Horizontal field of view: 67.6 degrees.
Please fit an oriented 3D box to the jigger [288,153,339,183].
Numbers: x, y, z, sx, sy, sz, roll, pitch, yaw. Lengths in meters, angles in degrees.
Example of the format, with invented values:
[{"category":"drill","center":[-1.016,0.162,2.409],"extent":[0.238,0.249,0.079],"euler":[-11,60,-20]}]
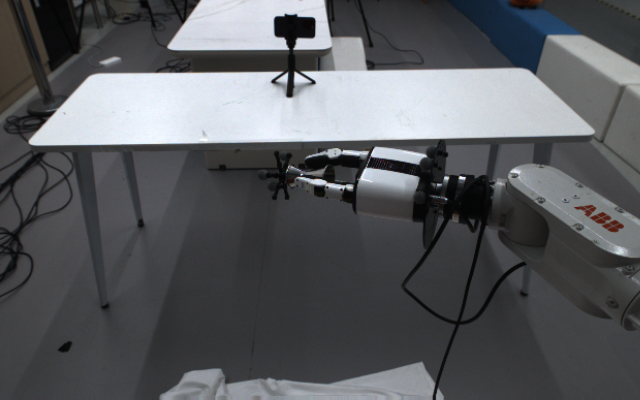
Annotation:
[{"category":"jigger","center":[-0.008,-0.042,0.765],"extent":[0.071,0.043,0.043],"euler":[3,32,25]}]
